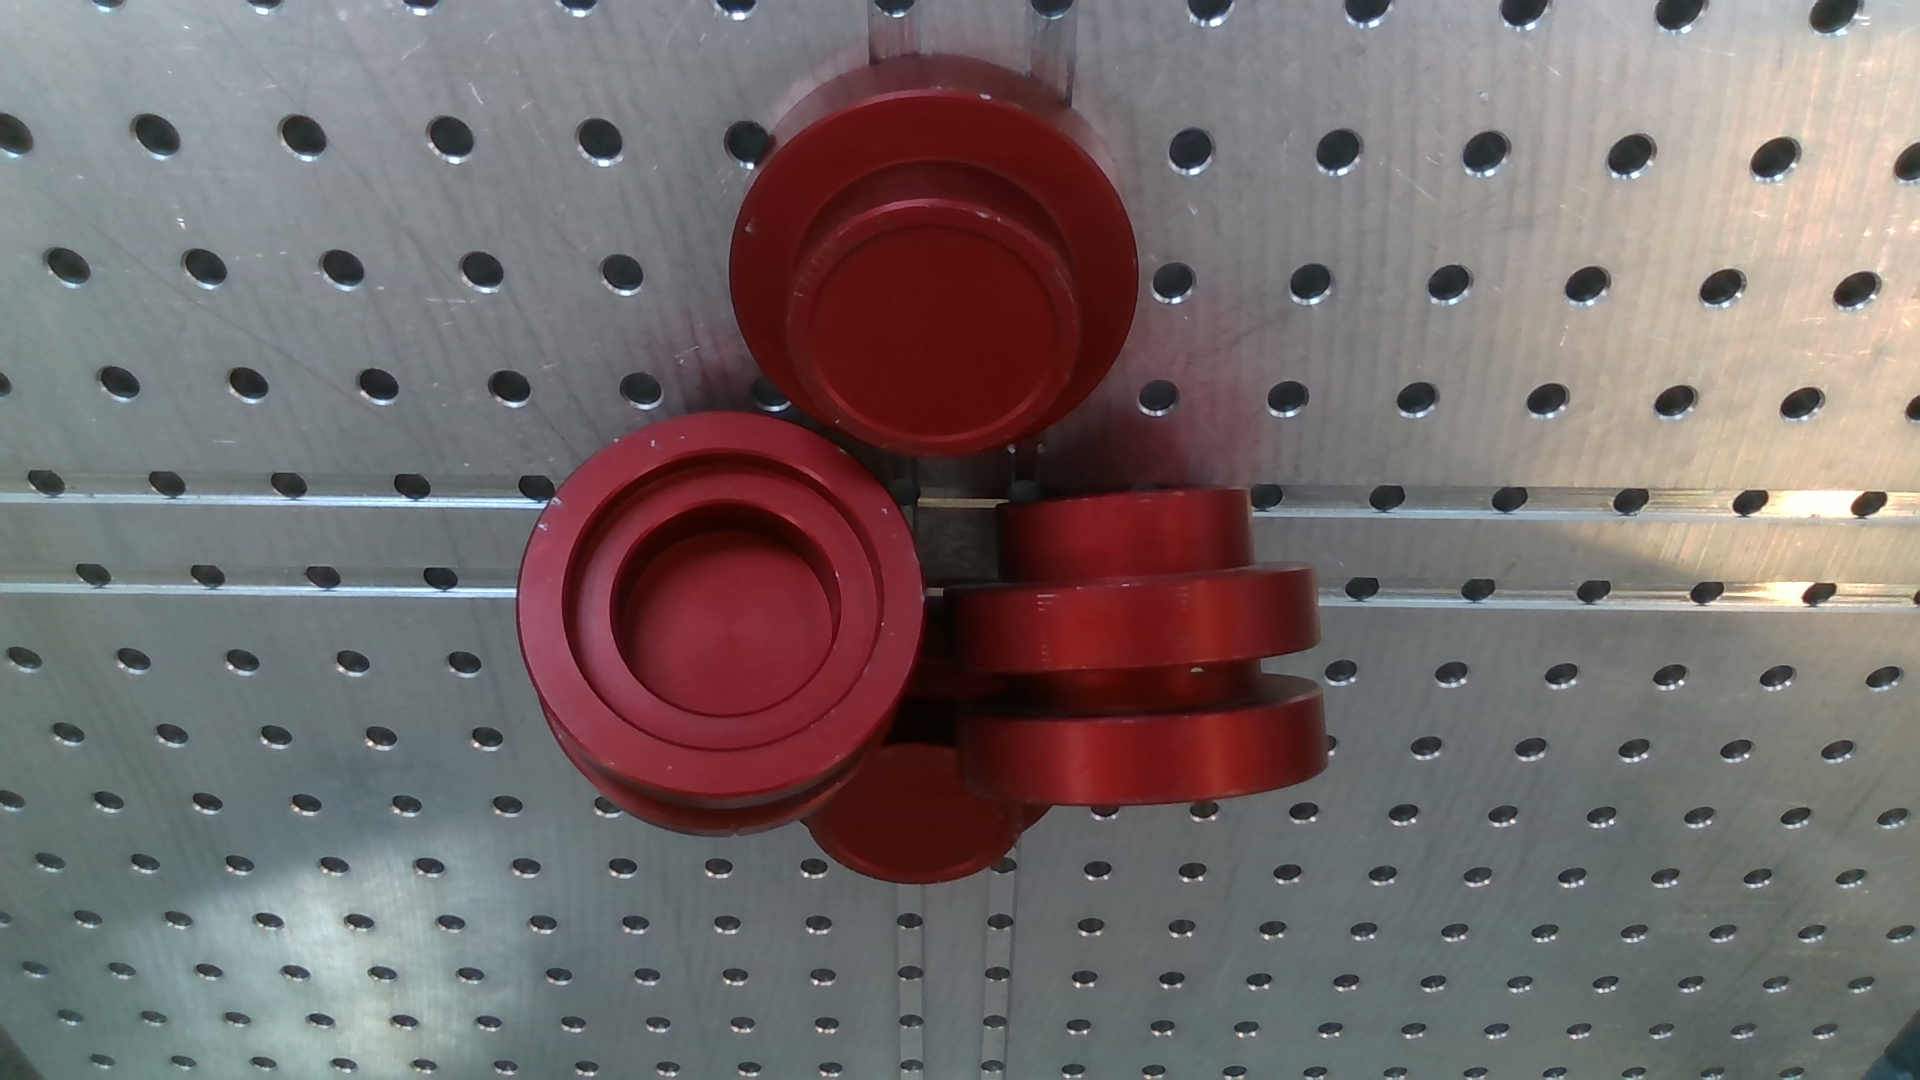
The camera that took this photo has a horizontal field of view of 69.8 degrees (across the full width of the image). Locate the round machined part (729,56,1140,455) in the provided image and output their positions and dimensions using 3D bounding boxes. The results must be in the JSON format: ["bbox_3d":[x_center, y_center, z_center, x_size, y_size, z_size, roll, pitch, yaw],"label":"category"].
[{"bbox_3d":[-0.006,-0.060,0.329,0.098,0.042,0.098,0,130,0],"label":"round machined part"}]

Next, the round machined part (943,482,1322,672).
[{"bbox_3d":[0.044,0.008,0.365,0.098,0.098,0.042,-4,90,4],"label":"round machined part"}]

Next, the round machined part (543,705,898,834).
[{"bbox_3d":[-0.065,0.032,0.383,0.098,0.098,0.042,8,161,-7],"label":"round machined part"}]

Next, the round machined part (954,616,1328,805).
[{"bbox_3d":[0.047,0.040,0.369,0.098,0.098,0.042,-4,90,4],"label":"round machined part"}]

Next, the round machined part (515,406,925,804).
[{"bbox_3d":[-0.060,0.019,0.353,0.098,0.098,0.042,7,162,-6],"label":"round machined part"}]

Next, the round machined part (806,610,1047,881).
[{"bbox_3d":[-0.014,0.072,0.441,0.098,0.042,0.098,0,130,0],"label":"round machined part"}]
